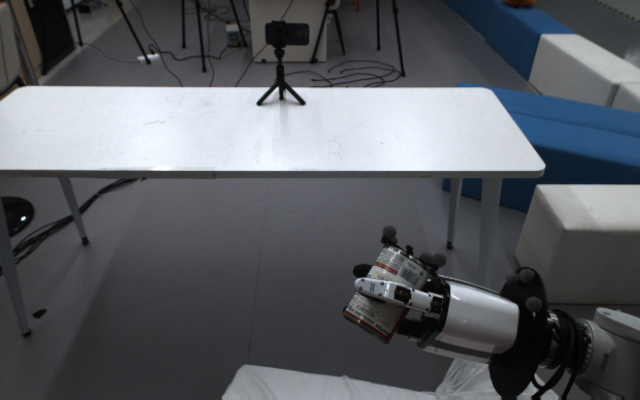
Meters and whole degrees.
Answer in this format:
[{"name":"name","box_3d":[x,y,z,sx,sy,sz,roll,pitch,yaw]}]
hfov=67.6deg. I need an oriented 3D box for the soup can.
[{"name":"soup can","box_3d":[0.084,0.115,0.598,0.067,0.067,0.101,26,76,31]}]
